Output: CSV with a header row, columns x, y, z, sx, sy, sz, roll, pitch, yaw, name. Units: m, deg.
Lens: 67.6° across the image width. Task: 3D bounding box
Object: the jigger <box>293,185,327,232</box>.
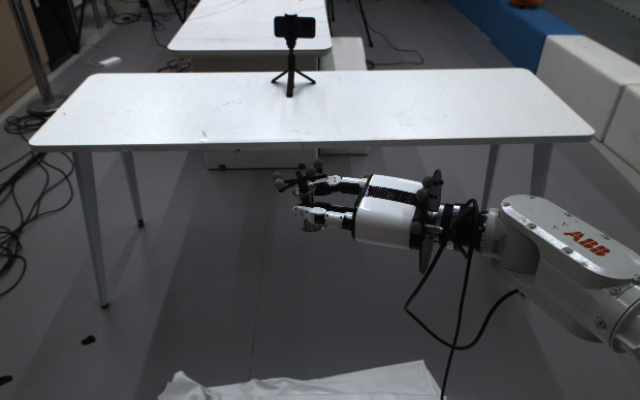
x,y,z,sx,sy,sz,roll,pitch,yaw,name
-0.016,0.013,0.785,0.043,0.071,0.043,-14,21,6,jigger
